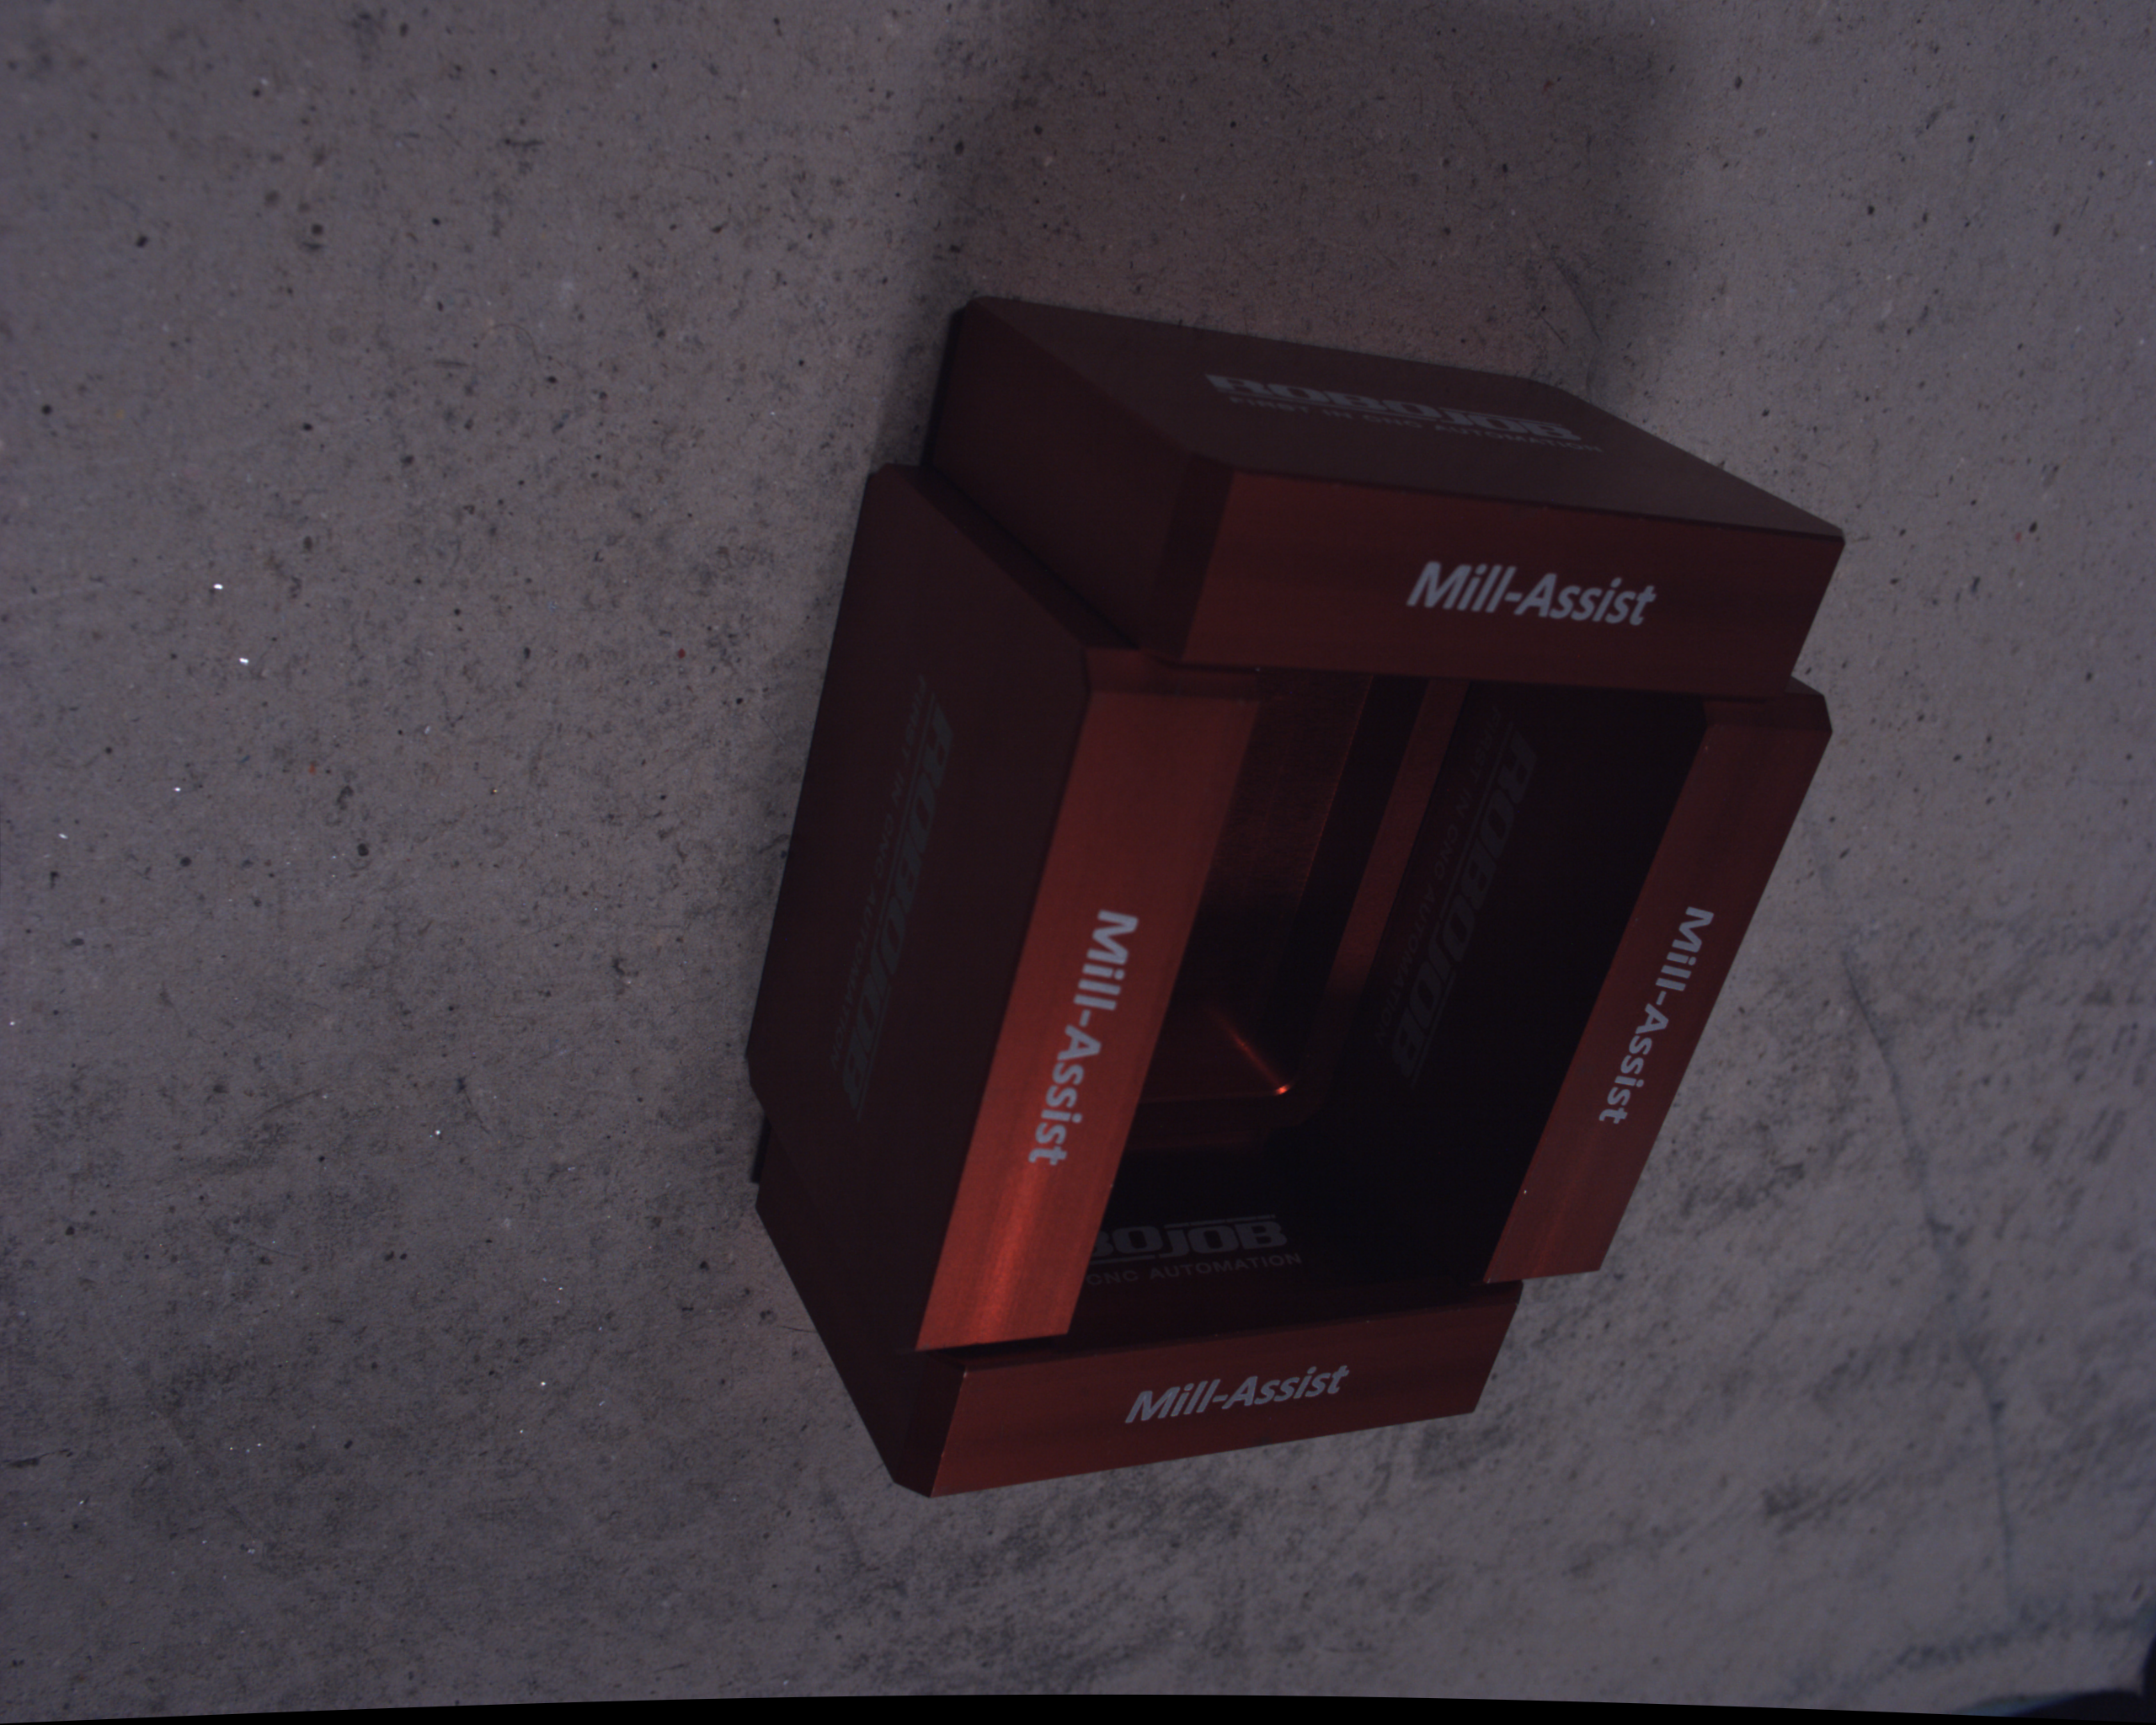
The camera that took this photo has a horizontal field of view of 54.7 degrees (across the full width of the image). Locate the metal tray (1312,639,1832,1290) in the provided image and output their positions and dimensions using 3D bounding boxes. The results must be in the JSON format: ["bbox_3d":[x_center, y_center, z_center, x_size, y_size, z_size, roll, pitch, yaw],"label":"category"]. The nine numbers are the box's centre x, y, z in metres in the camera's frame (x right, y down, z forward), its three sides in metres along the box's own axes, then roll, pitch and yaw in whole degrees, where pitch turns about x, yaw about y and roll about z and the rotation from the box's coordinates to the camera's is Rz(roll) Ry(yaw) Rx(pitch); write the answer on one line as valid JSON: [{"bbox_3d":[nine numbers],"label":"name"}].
[{"bbox_3d":[0.087,0.008,0.420,0.030,0.090,0.129,1,118,-29],"label":"metal tray"}]

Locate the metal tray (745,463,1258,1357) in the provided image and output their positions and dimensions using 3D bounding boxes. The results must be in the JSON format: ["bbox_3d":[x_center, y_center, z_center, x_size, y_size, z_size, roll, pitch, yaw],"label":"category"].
[{"bbox_3d":[-0.019,0.007,0.361,0.030,0.090,0.129,1,118,-29],"label":"metal tray"}]

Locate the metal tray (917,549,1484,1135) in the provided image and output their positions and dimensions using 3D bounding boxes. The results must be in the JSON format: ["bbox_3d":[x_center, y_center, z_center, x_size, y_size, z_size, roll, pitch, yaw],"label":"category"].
[{"bbox_3d":[0.021,-0.007,0.413,0.091,0.030,0.129,1,118,-29],"label":"metal tray"}]

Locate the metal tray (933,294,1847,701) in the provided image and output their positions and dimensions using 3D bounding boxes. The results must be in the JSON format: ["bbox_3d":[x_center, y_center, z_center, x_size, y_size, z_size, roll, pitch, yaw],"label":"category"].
[{"bbox_3d":[0.052,-0.062,0.357,0.131,0.090,0.030,1,118,-29],"label":"metal tray"}]

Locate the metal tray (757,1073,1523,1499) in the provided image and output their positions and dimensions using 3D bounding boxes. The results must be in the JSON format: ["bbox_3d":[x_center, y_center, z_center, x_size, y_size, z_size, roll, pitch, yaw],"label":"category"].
[{"bbox_3d":[0.012,0.078,0.422,0.131,0.090,0.030,1,118,-29],"label":"metal tray"}]
